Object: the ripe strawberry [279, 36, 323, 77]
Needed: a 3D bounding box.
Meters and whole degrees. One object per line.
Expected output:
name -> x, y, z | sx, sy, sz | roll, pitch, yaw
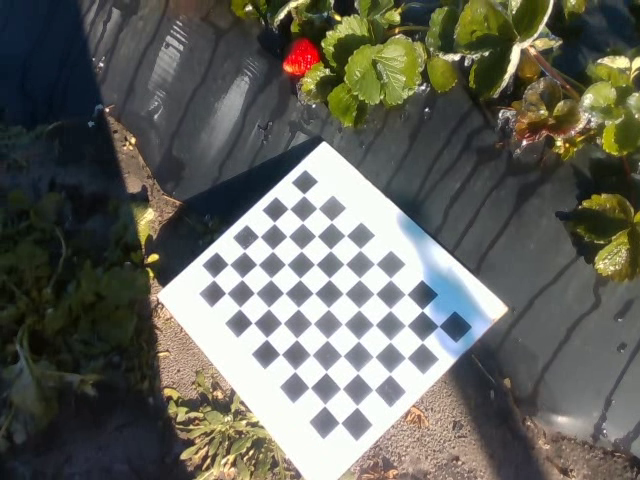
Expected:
ripe strawberry -> -0.022, -0.178, 0.573 | 0.041, 0.047, 0.052 | 38, 44, 17
